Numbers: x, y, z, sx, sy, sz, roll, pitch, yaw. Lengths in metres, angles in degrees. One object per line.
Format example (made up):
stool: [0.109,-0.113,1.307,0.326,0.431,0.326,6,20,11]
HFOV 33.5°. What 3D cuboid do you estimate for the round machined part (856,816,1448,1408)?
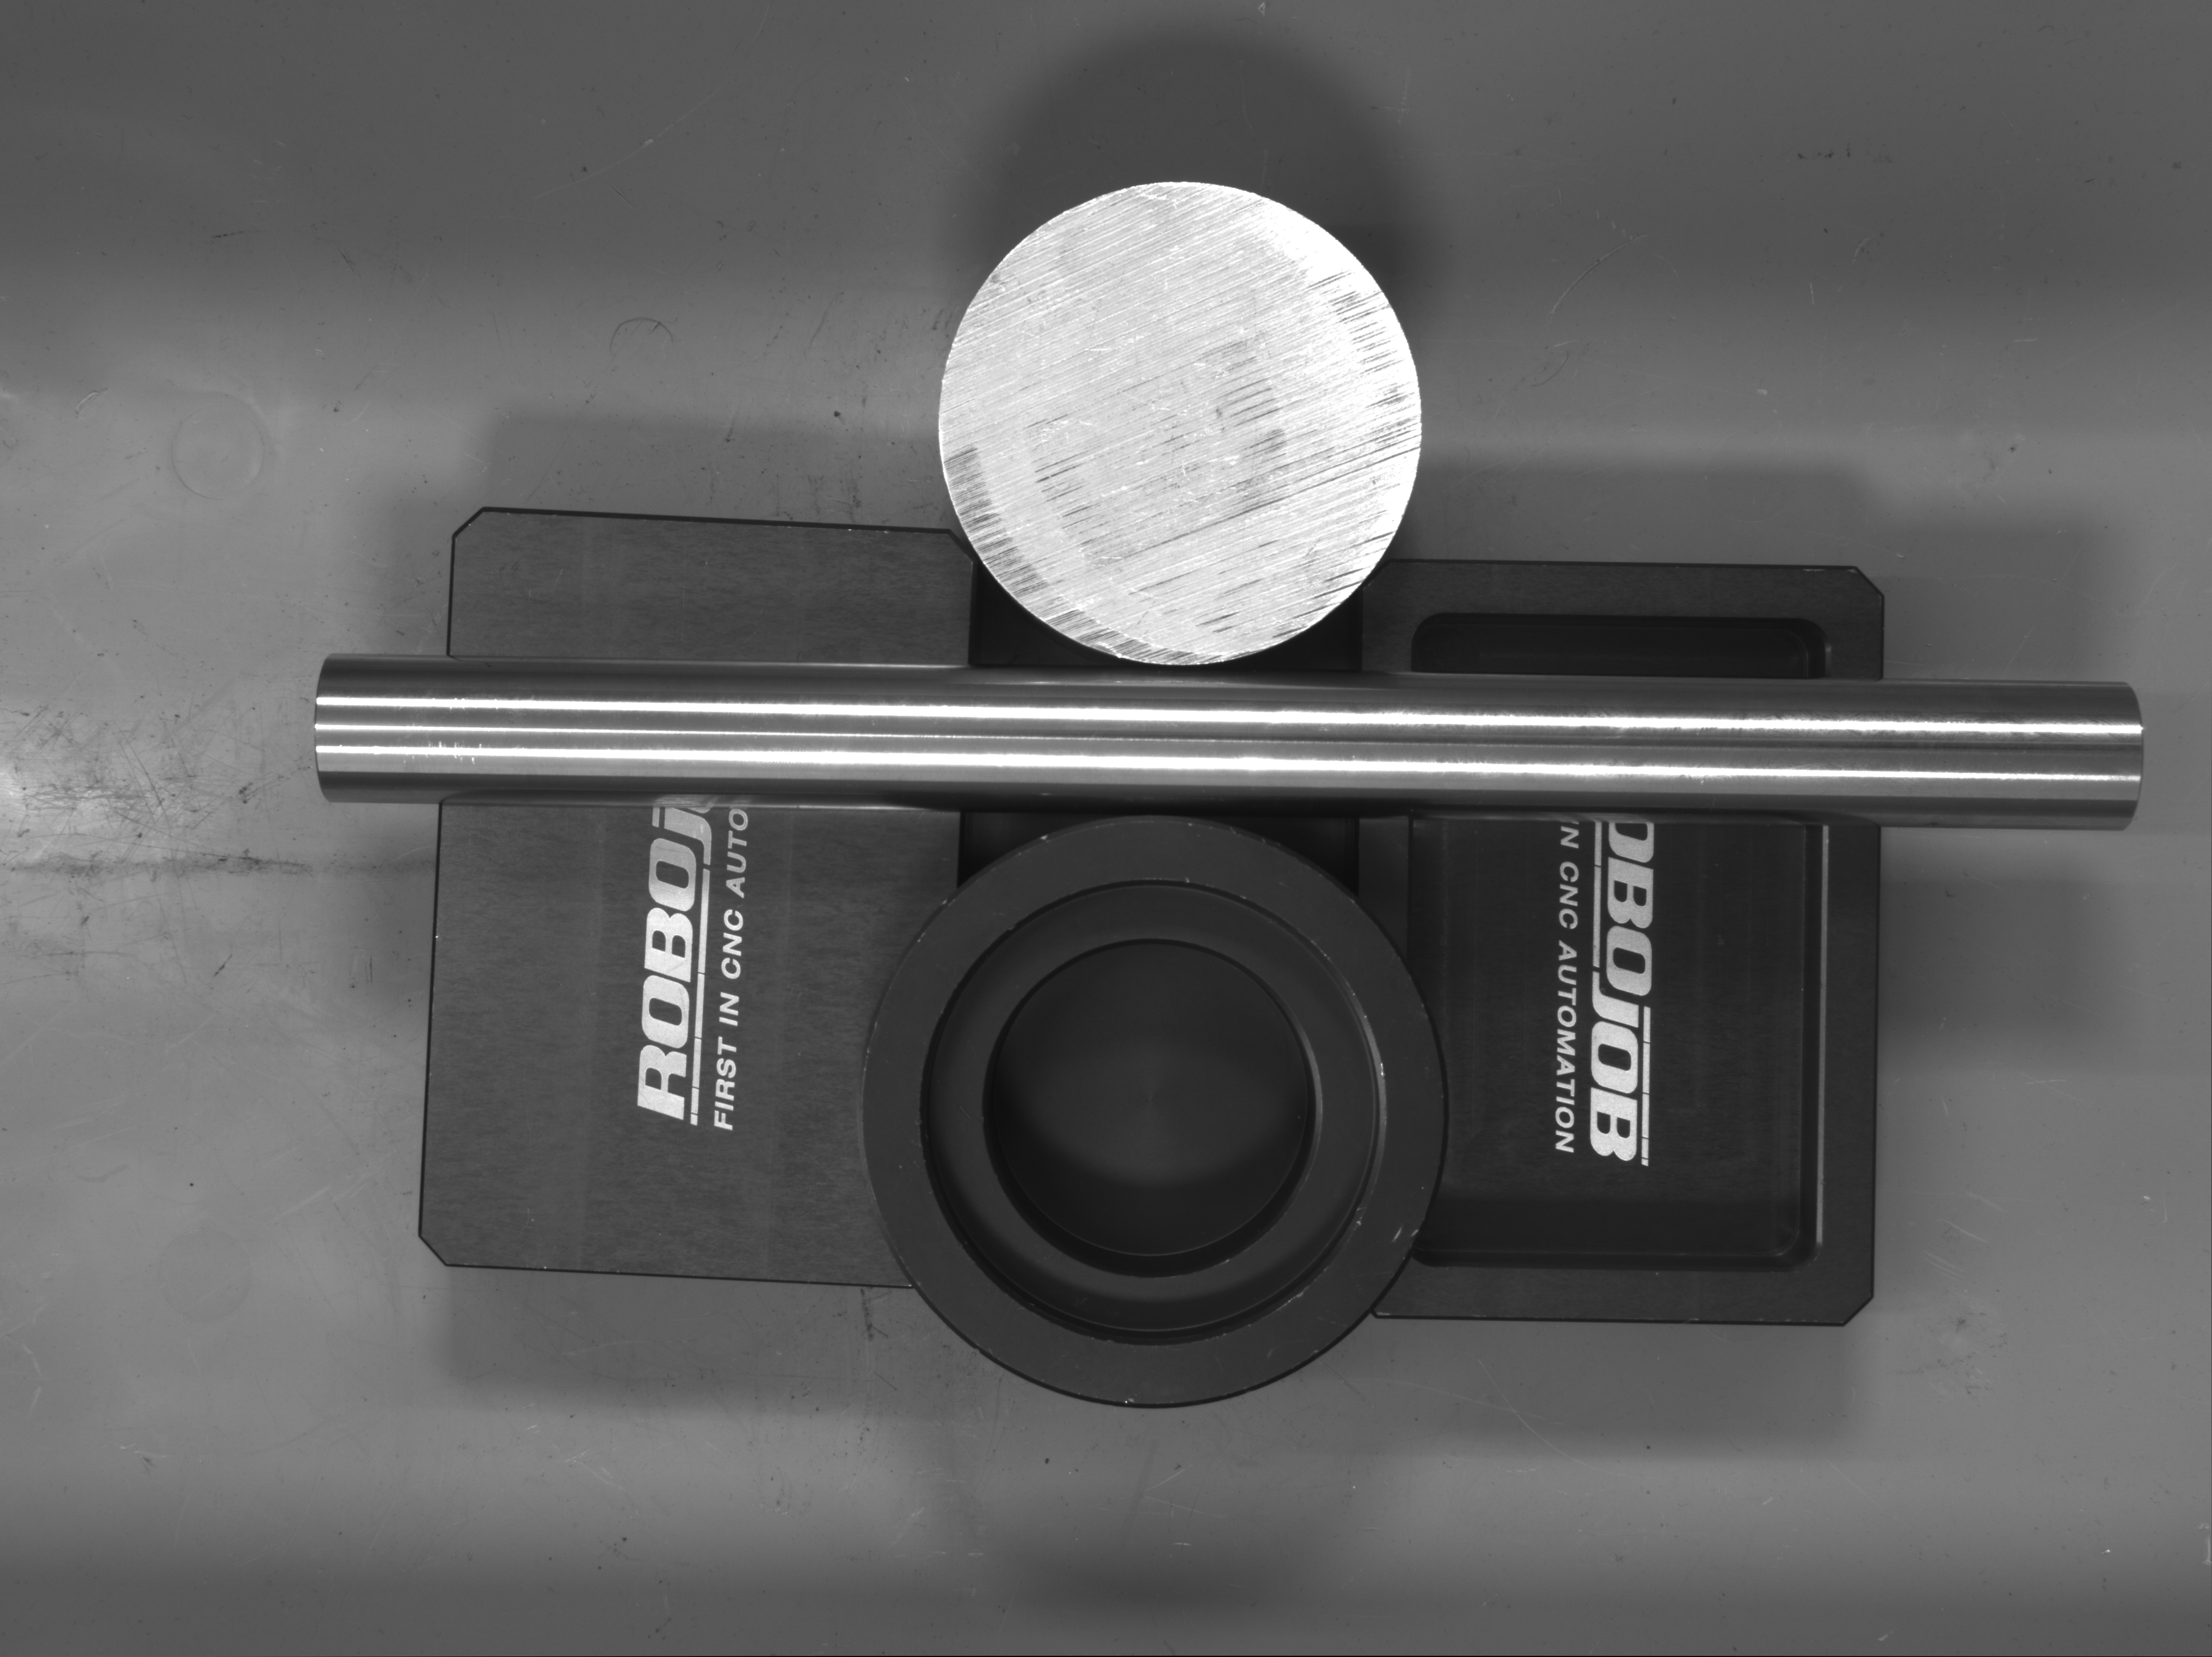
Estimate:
round machined part: [0.008,0.047,0.627,0.098,0.042,0.098,0,90,0]

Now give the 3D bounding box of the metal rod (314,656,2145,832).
metal rod: [0.020,-0.014,0.614,0.300,0.025,0.025,1,90,0]

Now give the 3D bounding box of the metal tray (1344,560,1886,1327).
metal tray: [0.088,0.020,0.642,0.090,0.030,0.130,1,90,0]

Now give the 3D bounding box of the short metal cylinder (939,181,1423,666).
short metal cylinder: [0.013,-0.067,0.632,0.080,0.050,0.080,0,90,0]

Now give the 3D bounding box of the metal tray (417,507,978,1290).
metal tray: [-0.070,0.012,0.641,0.090,0.030,0.130,3,90,0]
